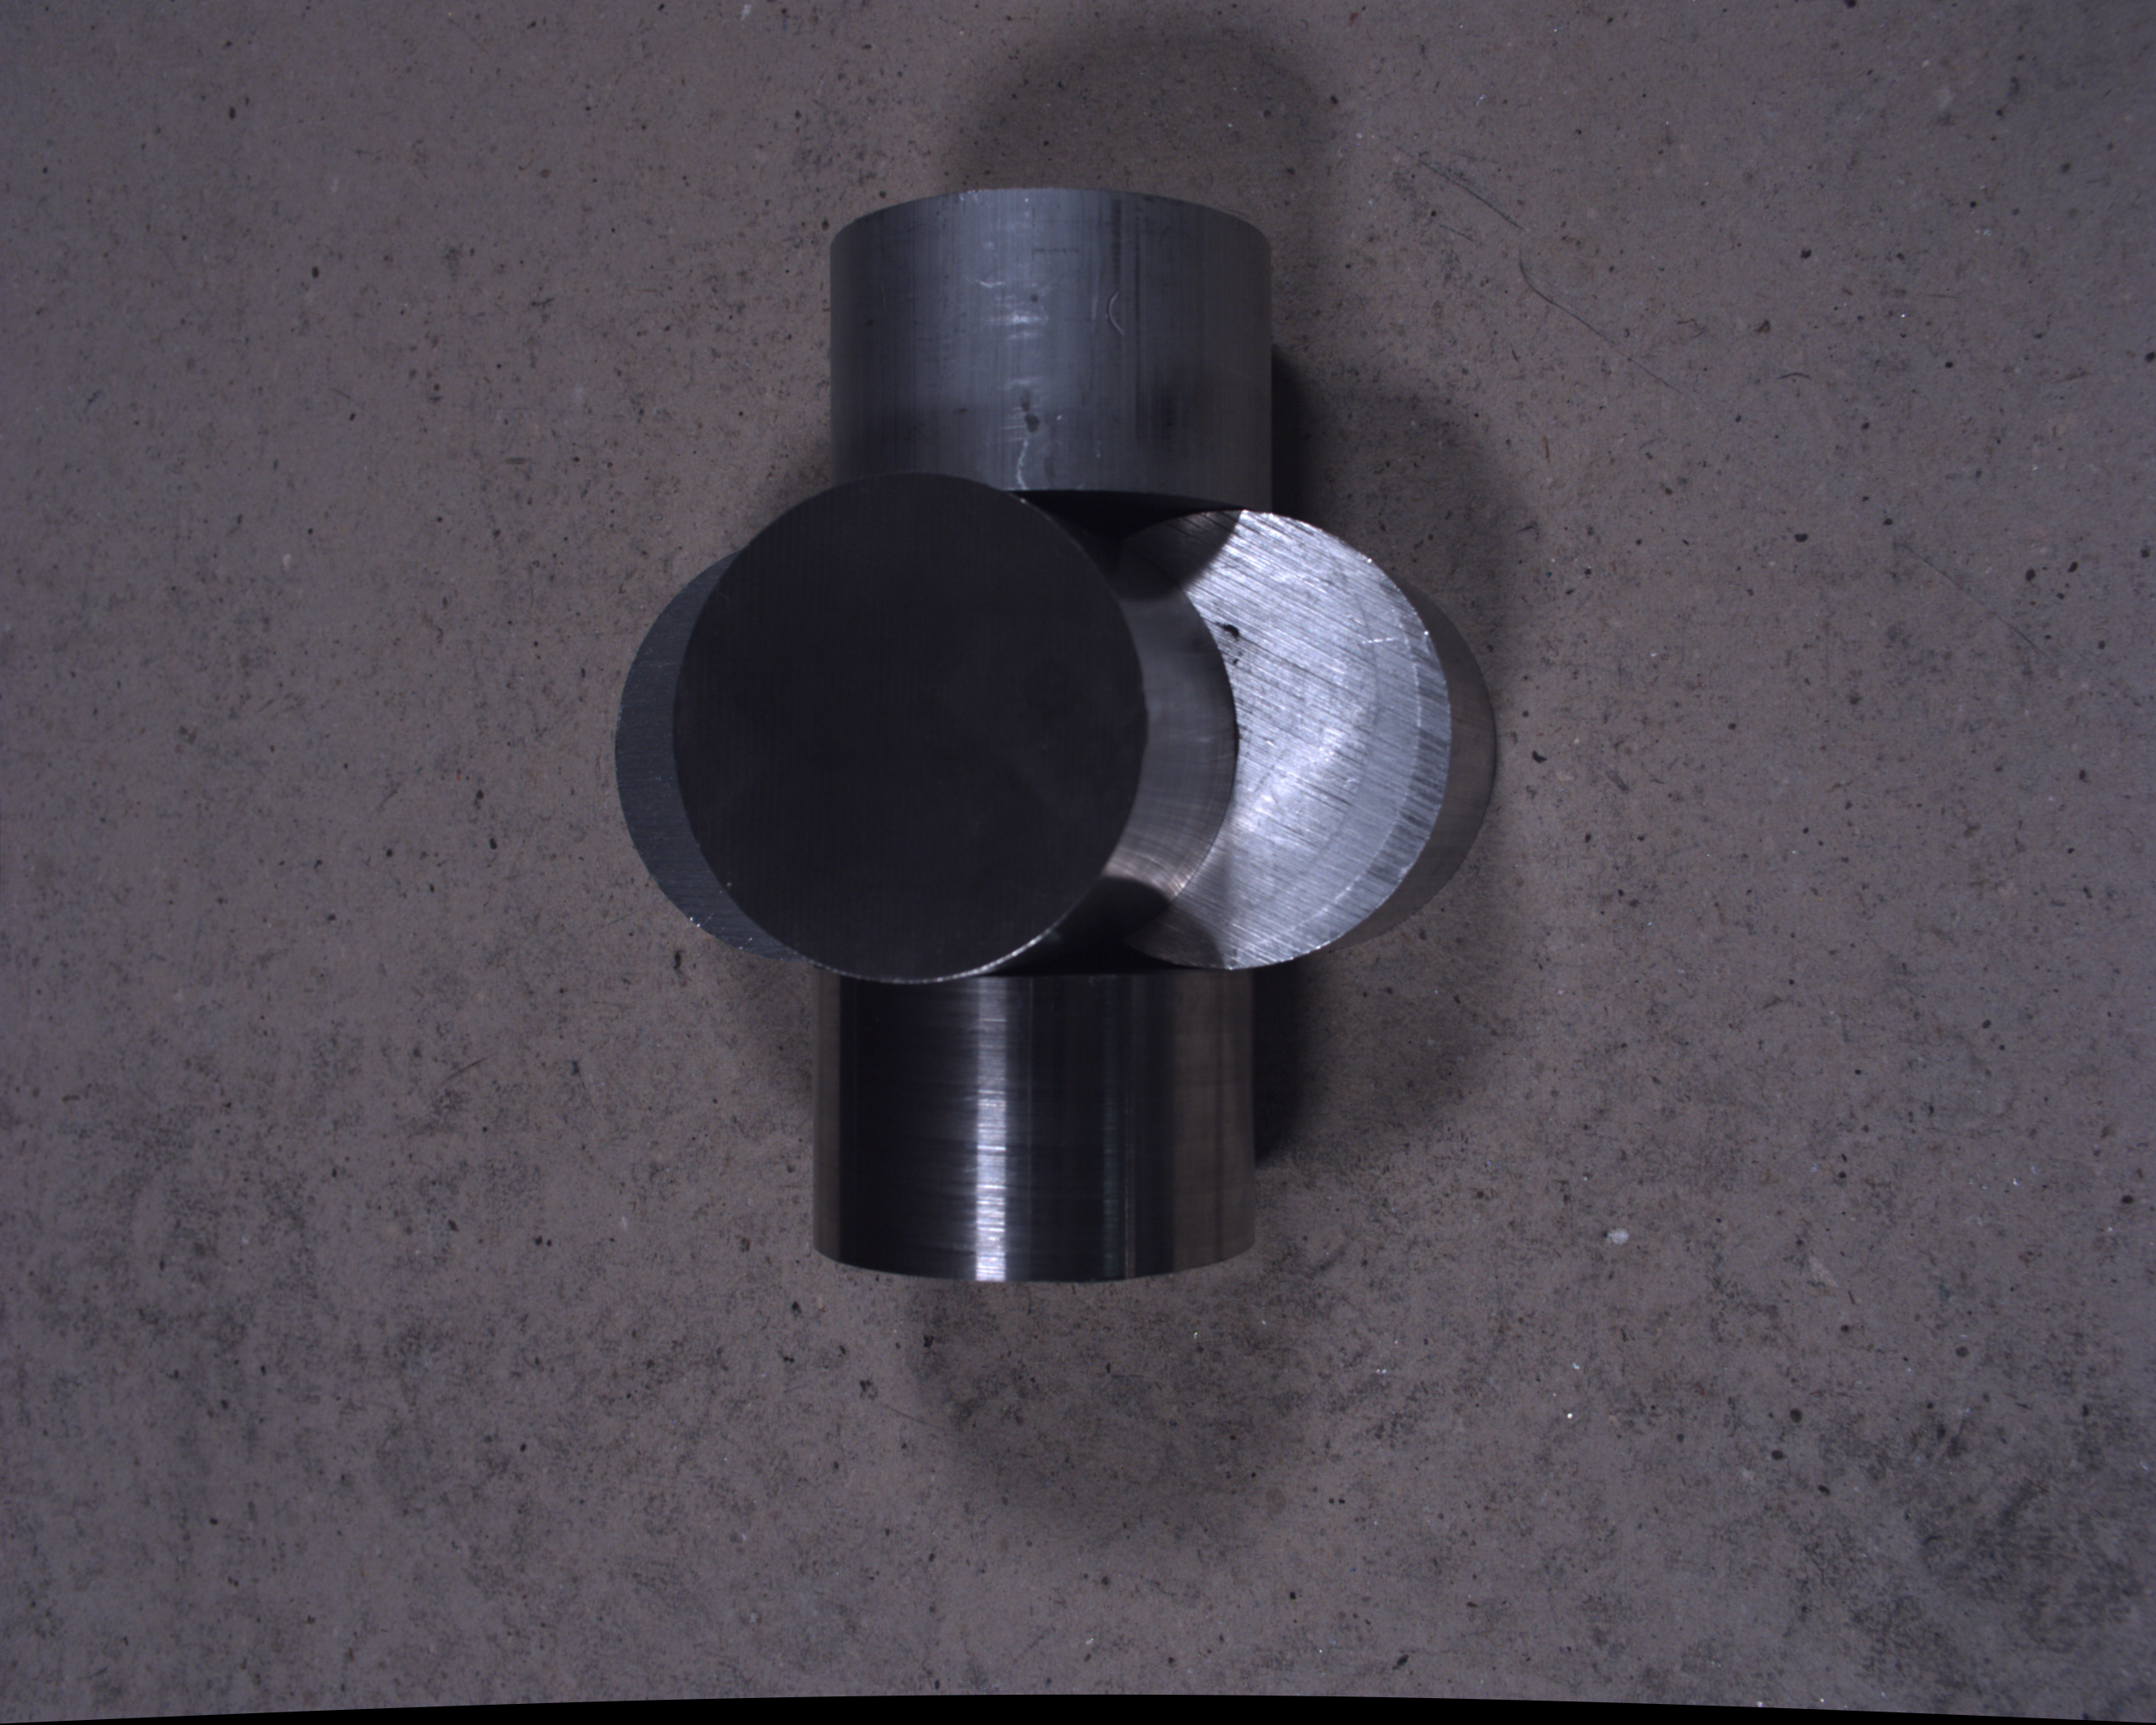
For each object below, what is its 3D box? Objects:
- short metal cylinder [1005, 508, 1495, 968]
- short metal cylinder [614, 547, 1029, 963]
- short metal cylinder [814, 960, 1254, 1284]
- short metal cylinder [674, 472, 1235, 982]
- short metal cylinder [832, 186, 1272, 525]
[{"bbox_3d":[0.033,-0.022,0.385,0.080,0.050,0.079,0,90,19],"label":"short metal cylinder"},{"bbox_3d":[-0.043,-0.021,0.411,0.080,0.050,0.079,0,90,19],"label":"short metal cylinder"},{"bbox_3d":[-0.008,0.044,0.383,0.080,0.080,0.050,0,90,19],"label":"short metal cylinder"},{"bbox_3d":[-0.019,-0.021,0.349,0.080,0.050,0.079,0,90,19],"label":"short metal cylinder"},{"bbox_3d":[-0.005,-0.086,0.382,0.080,0.080,0.050,0,90,19],"label":"short metal cylinder"}]
